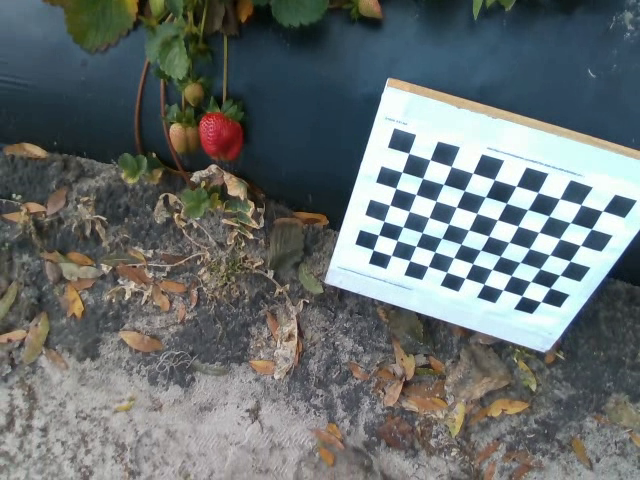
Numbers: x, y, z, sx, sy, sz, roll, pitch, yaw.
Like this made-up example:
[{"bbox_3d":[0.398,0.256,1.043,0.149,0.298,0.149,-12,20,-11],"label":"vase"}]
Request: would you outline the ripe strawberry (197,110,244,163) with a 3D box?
[{"bbox_3d":[-0.125,-0.121,0.727,0.066,0.074,0.053,3,39,13],"label":"ripe strawberry"}]
